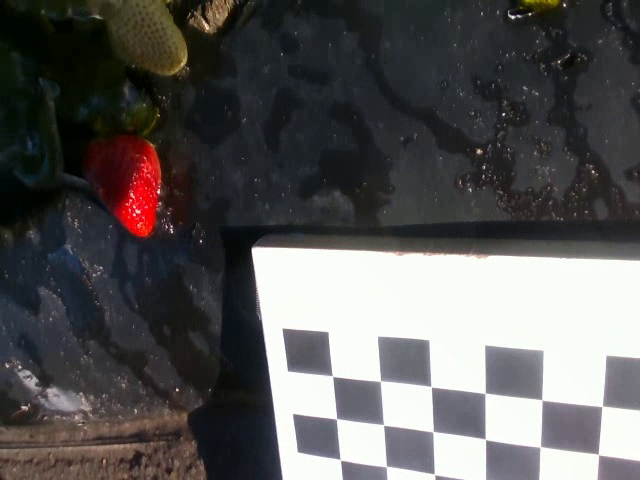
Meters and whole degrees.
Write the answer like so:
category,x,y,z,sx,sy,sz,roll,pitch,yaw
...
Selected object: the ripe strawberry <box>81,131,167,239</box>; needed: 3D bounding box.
category,x,y,z,sx,sy,sz,roll,pitch,yaw
ripe strawberry,-0.100,-0.022,0.319,0.042,0.052,0.040,-17,7,24
